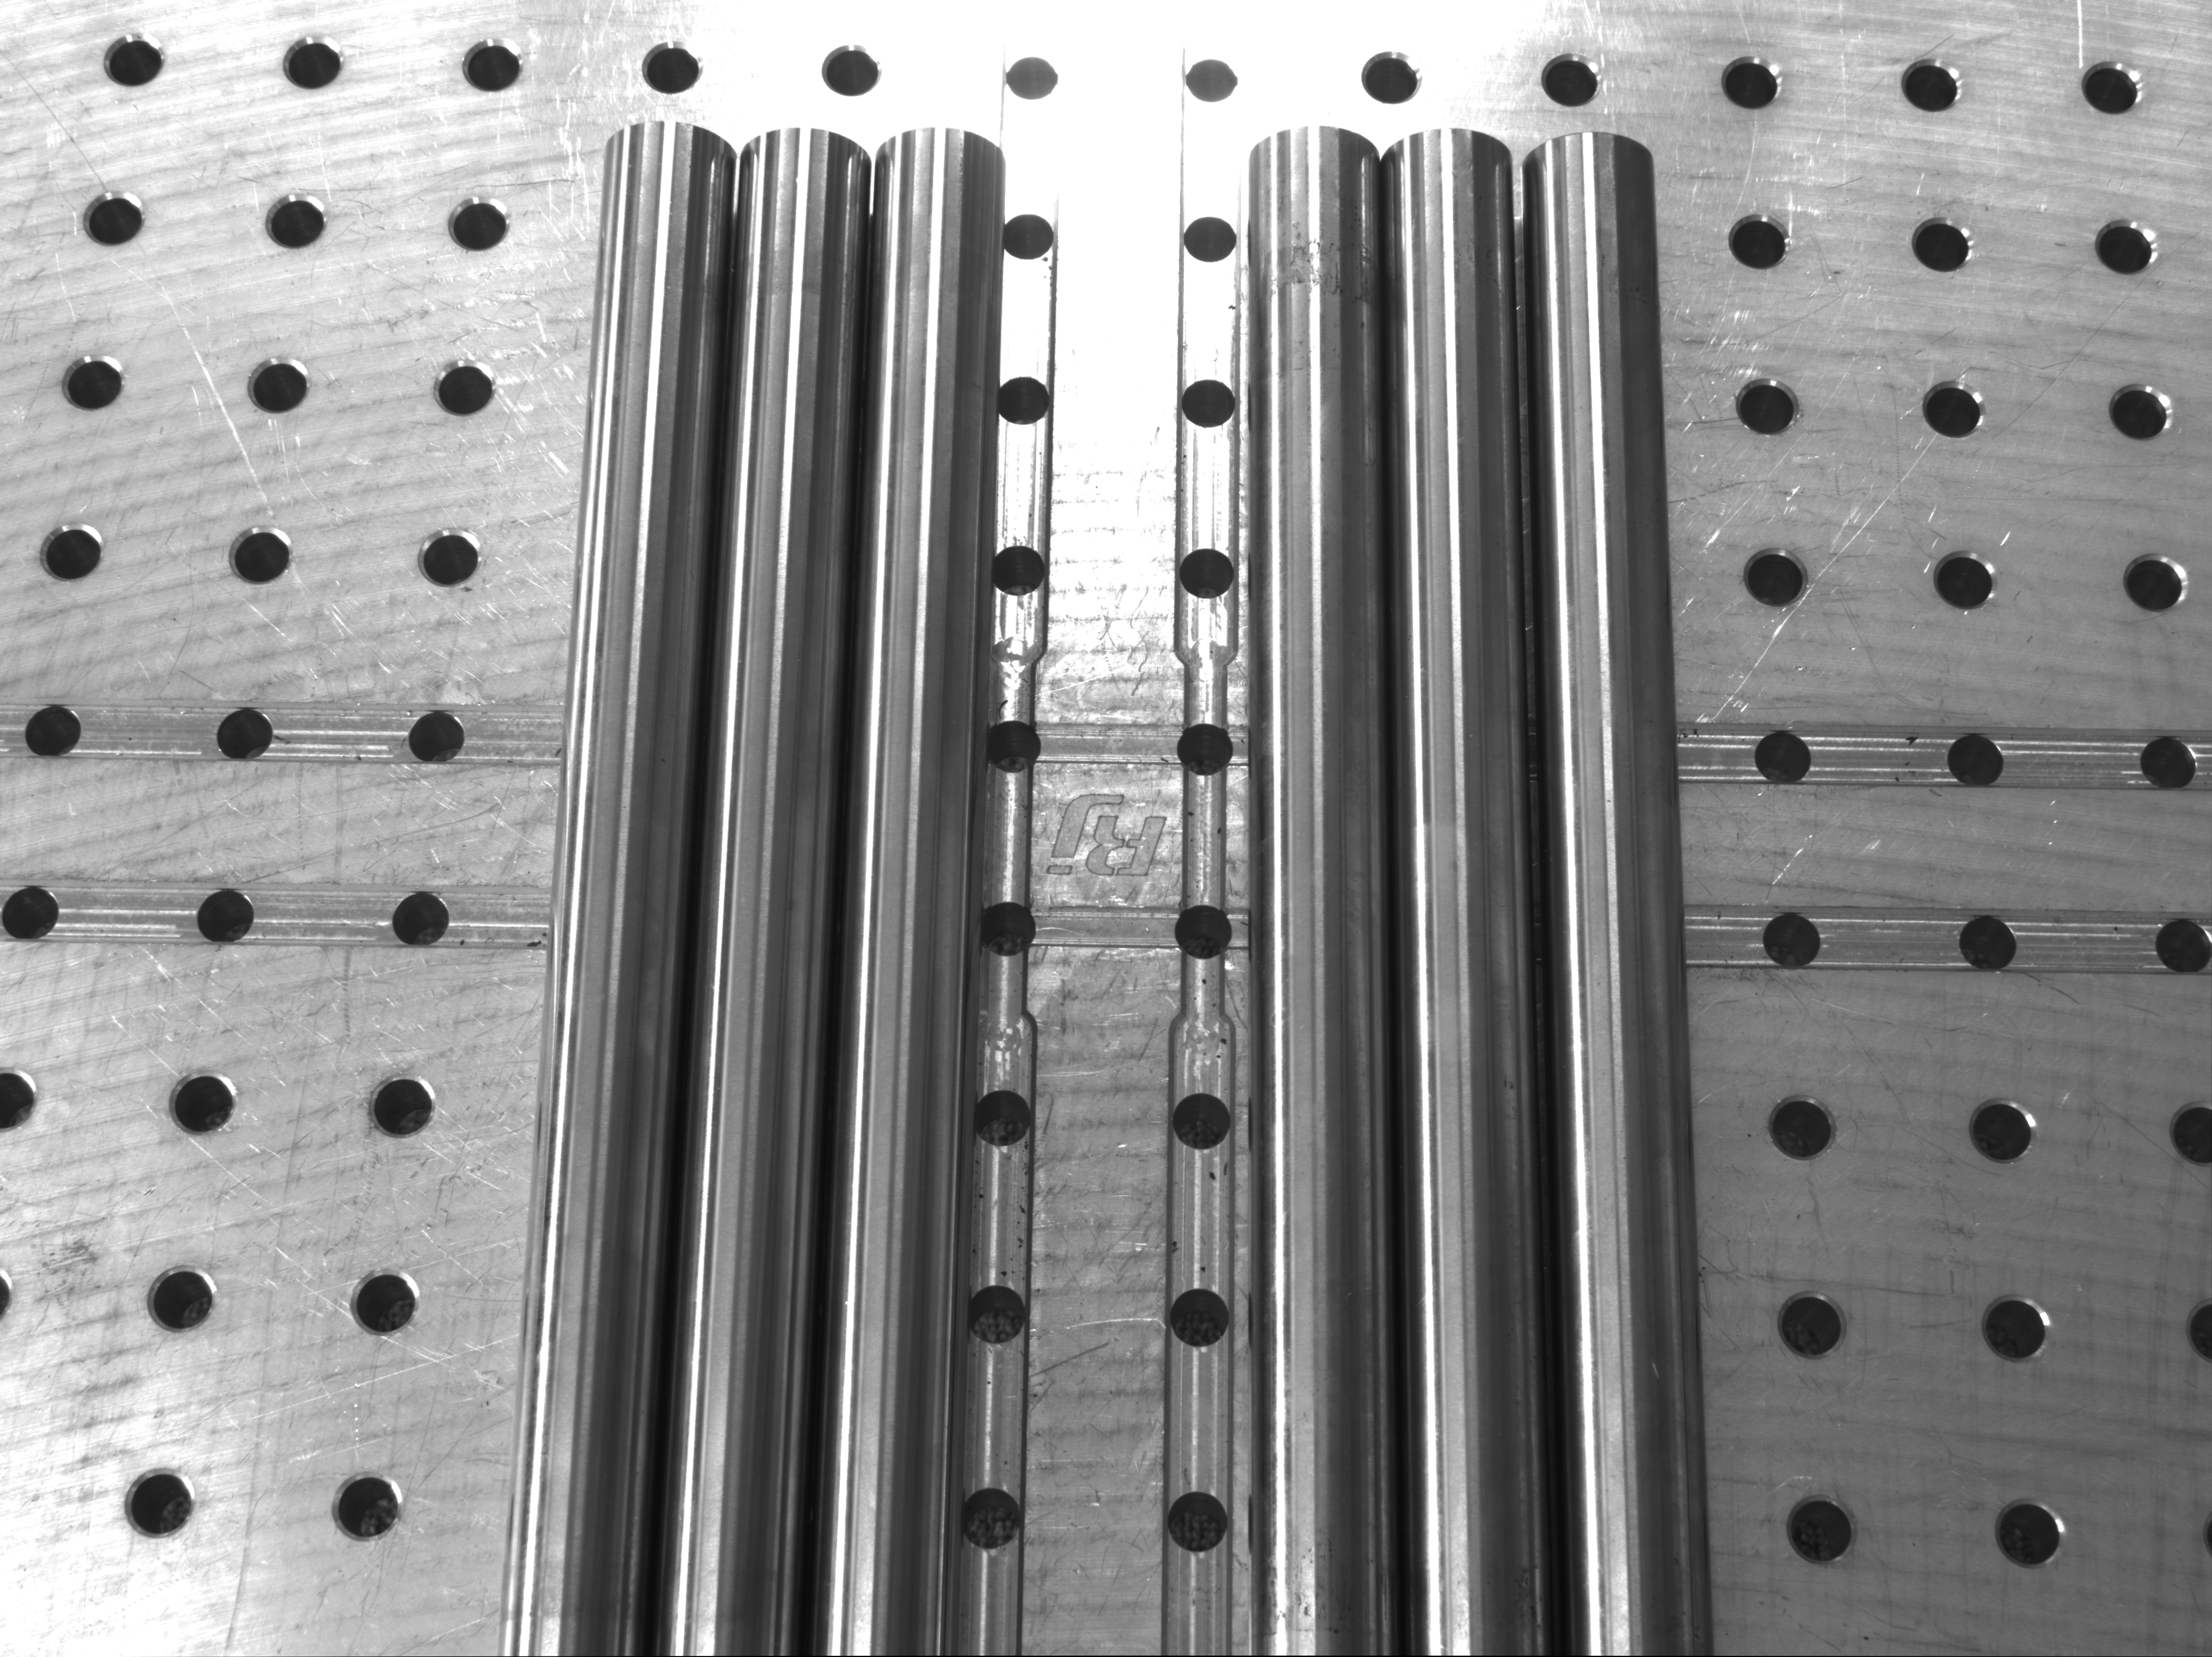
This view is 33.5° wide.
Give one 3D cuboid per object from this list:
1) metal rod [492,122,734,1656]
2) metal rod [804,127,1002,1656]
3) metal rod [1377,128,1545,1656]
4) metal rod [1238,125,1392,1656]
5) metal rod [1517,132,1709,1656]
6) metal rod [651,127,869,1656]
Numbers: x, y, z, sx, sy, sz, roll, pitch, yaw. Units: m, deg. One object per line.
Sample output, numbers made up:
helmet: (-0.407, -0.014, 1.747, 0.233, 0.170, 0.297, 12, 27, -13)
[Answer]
metal rod: (-0.085, 0.014, 0.642, 0.025, 0.025, 0.300, 1, 70, 1)
metal rod: (-0.035, 0.015, 0.642, 0.025, 0.025, 0.300, 1, 70, 1)
metal rod: (0.061, 0.015, 0.642, 0.025, 0.025, 0.300, 1, 70, 1)
metal rod: (0.036, 0.014, 0.642, 0.025, 0.025, 0.300, 1, 70, 1)
metal rod: (0.088, 0.016, 0.642, 0.025, 0.025, 0.300, 1, 70, 1)
metal rod: (-0.060, 0.015, 0.642, 0.025, 0.025, 0.300, 1, 70, 1)
